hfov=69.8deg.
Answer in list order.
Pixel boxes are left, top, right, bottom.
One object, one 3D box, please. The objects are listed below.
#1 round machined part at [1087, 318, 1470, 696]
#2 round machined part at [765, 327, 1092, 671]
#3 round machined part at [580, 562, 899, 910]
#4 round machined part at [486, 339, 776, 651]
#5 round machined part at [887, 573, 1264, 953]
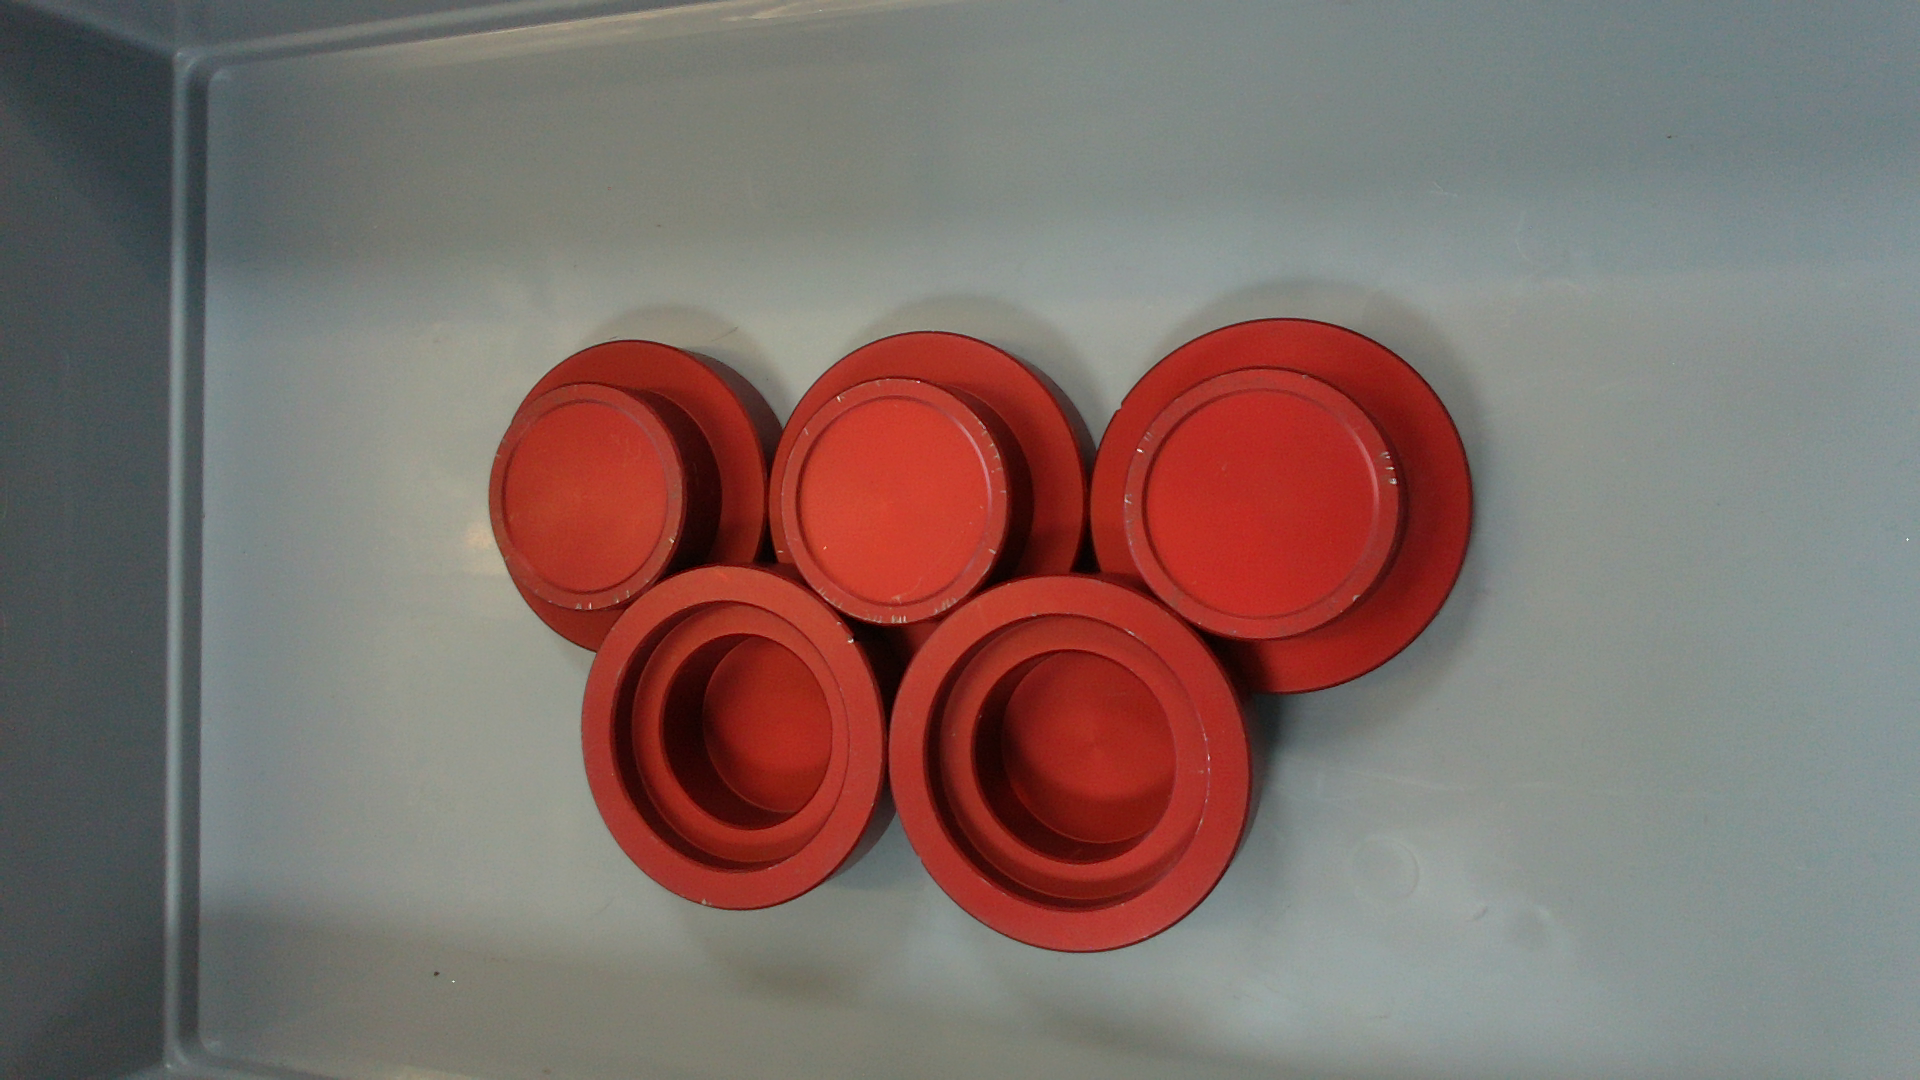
[{"bbox_3d":[0.080,-0.009,0.356,0.098,0.042,0.098,0,89,21],"label":"round machined part"},{"bbox_3d":[-0.012,-0.011,0.389,0.098,0.042,0.098,0,89,21],"label":"round machined part"},{"bbox_3d":[-0.059,0.055,0.407,0.098,0.042,0.098,0,90,20],"label":"round machined part"},{"bbox_3d":[-0.104,-0.013,0.422,0.098,0.042,0.098,0,89,19],"label":"round machined part"},{"bbox_3d":[0.033,0.057,0.373,0.098,0.042,0.098,0,90,20],"label":"round machined part"}]
